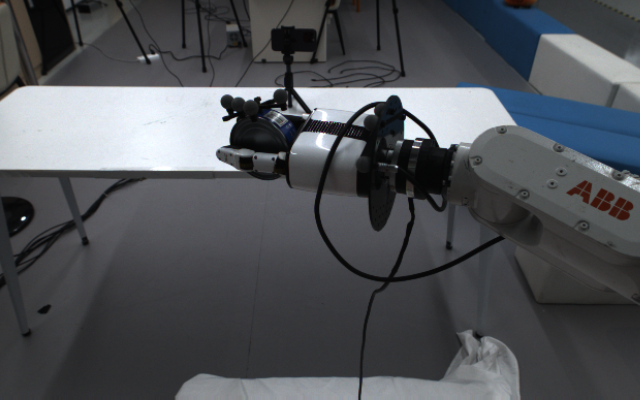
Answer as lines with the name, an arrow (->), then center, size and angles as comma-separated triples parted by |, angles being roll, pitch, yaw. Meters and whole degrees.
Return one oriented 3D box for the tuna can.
tuna can -> -0.067, -0.070, 0.610 | 0.085, 0.085, 0.034 | 17, 36, 20
